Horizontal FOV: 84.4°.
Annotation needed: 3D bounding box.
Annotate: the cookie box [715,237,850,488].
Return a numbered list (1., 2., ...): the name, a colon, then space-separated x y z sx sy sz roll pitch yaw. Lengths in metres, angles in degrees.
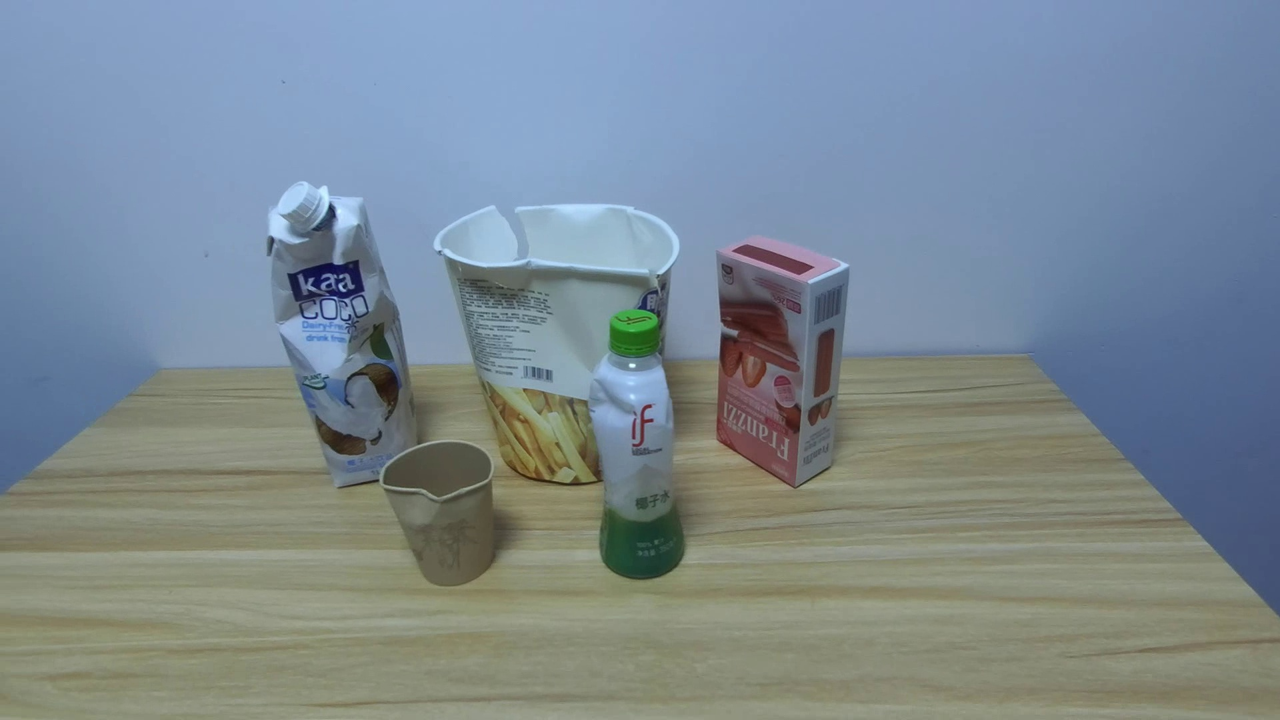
1. cookie box: 0.108 -0.001 0.574 0.049 0.188 0.104 -22 34 -31

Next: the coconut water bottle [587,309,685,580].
1. coconut water bottle: -0.001 0.058 0.476 0.069 0.186 0.069 -2 29 1

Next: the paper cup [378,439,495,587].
1. paper cup: -0.137 0.110 0.502 0.074 0.081 0.068 -20 32 -30

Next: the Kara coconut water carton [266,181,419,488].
1. Kara coconut water carton: -0.238 -0.020 0.565 0.083 0.256 0.078 -2 31 -3

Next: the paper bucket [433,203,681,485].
1. paper bucket: -0.064 -0.018 0.609 0.202 0.197 0.146 4 29 11
